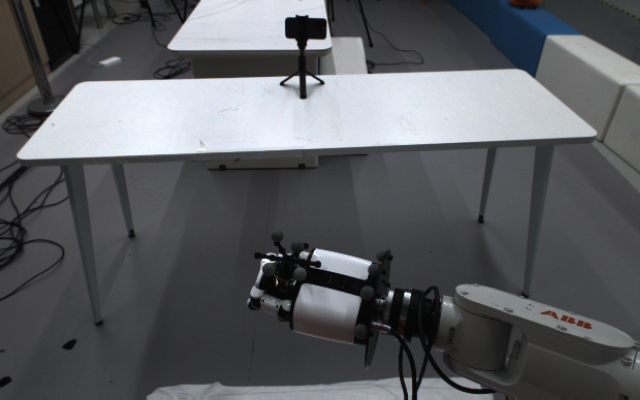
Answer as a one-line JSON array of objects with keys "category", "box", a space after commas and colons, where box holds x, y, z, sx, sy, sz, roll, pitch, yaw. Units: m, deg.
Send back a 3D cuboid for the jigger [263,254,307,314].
[{"category": "jigger", "box": [-0.047, 0.122, 0.670, 0.043, 0.071, 0.043, 7, 32, -4]}]
